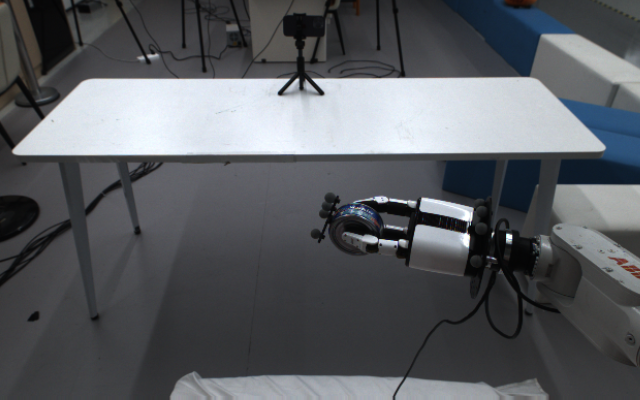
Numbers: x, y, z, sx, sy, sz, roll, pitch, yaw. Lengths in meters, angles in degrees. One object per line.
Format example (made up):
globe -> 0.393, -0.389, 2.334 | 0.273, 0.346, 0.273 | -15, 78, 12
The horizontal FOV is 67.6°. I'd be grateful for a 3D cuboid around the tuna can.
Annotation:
tuna can -> 0.060, 0.047, 0.780 | 0.085, 0.085, 0.034 | 9, 35, 10
